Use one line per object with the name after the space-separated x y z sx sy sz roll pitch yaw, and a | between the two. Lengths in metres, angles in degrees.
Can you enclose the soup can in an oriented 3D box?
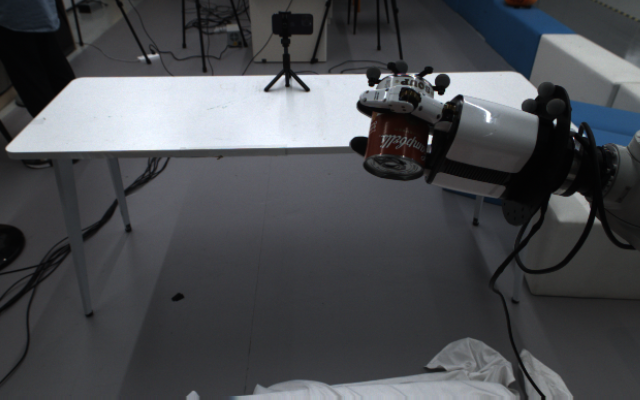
0.091 -0.081 0.543 0.067 0.067 0.101 8 72 9 | soup can
